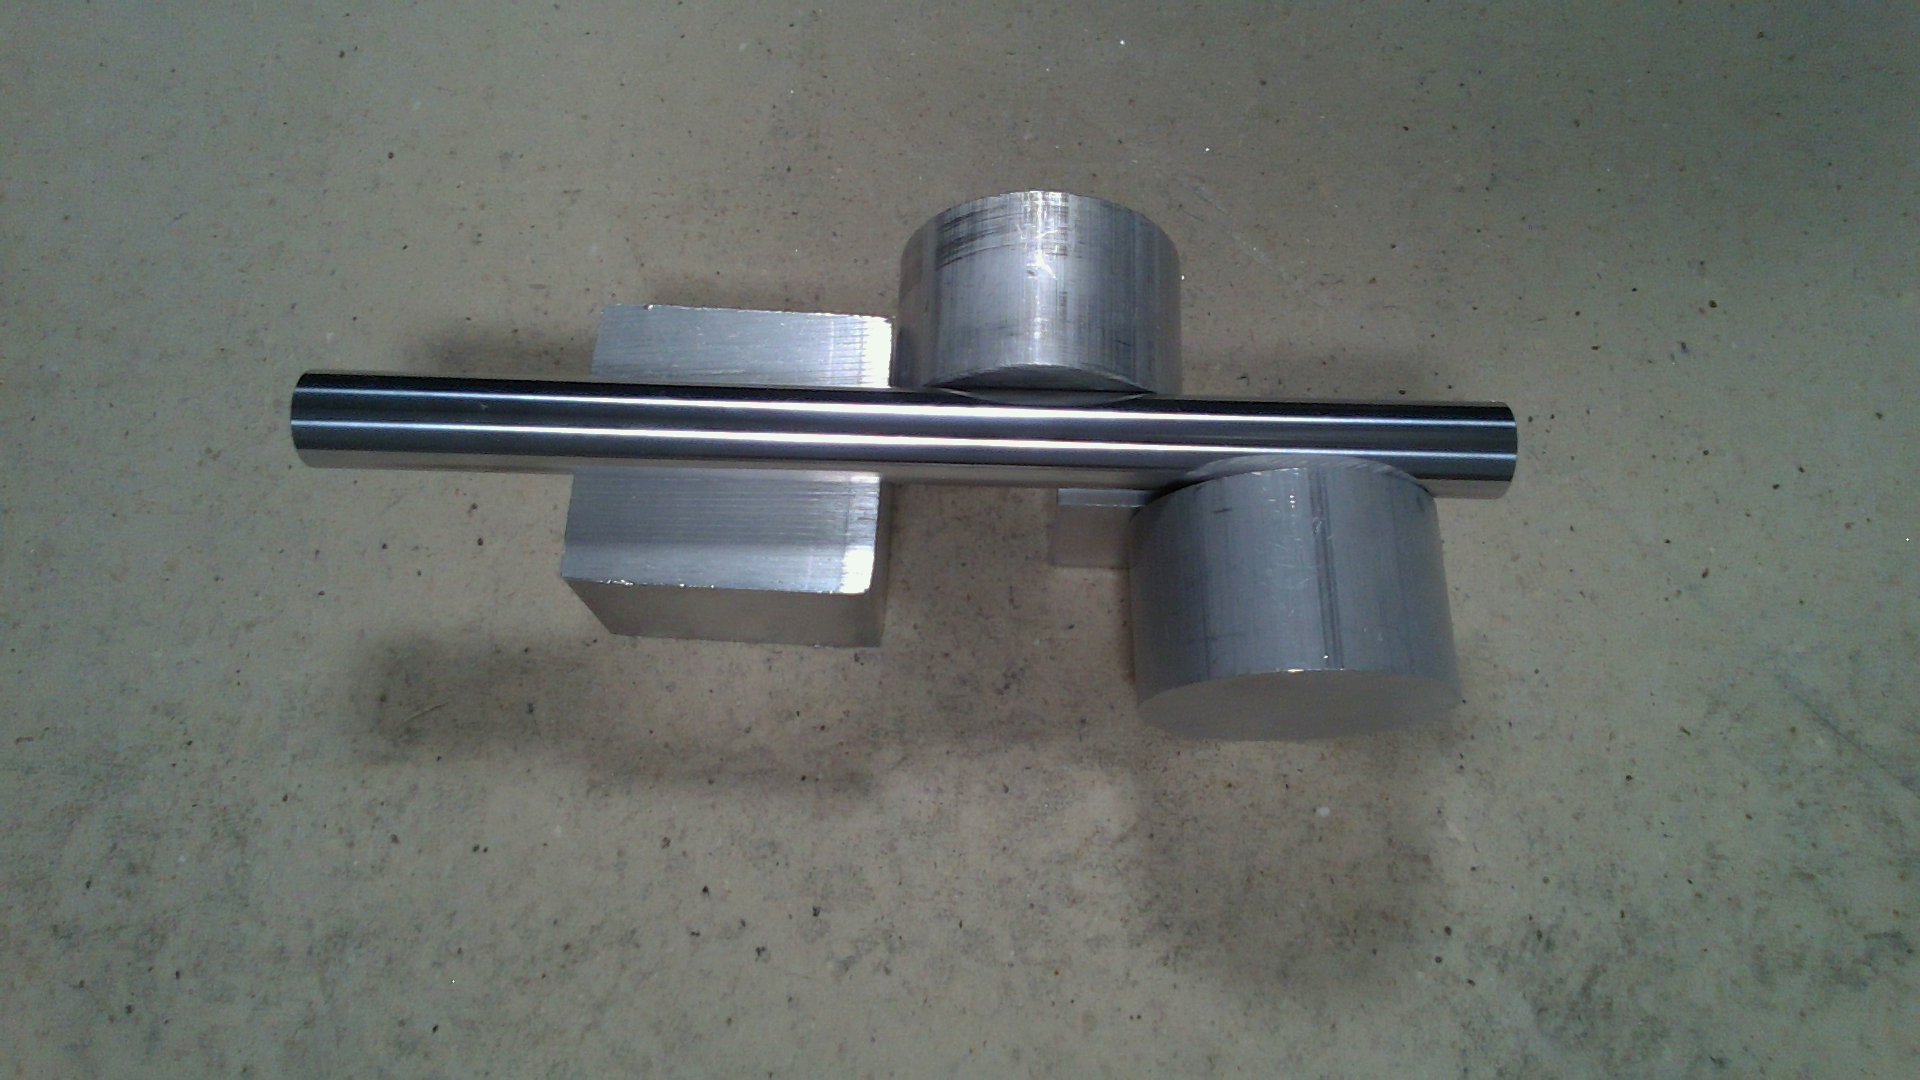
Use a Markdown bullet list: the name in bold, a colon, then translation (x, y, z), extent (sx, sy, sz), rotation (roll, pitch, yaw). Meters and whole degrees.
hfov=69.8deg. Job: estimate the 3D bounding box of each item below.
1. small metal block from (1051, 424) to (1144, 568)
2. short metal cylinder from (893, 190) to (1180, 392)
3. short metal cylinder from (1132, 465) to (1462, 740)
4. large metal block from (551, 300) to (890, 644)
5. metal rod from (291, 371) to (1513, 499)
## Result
- **small metal block**: translation (0.052, -0.012, 0.385), extent (0.050, 0.050, 0.025), rotation (1, 70, 0)
- **short metal cylinder**: translation (0.022, -0.054, 0.386), extent (0.080, 0.080, 0.050), rotation (2, 70, 1)
- **short metal cylinder**: translation (0.085, 0.019, 0.358), extent (0.080, 0.080, 0.050), rotation (0, 70, 0)
- **large metal block**: translation (-0.061, -0.017, 0.384), extent (0.080, 0.050, 0.080), rotation (3, 70, 1)
- **metal rod**: translation (-0.014, -0.027, 0.350), extent (0.300, 0.025, 0.025), rotation (1, 70, -1)
